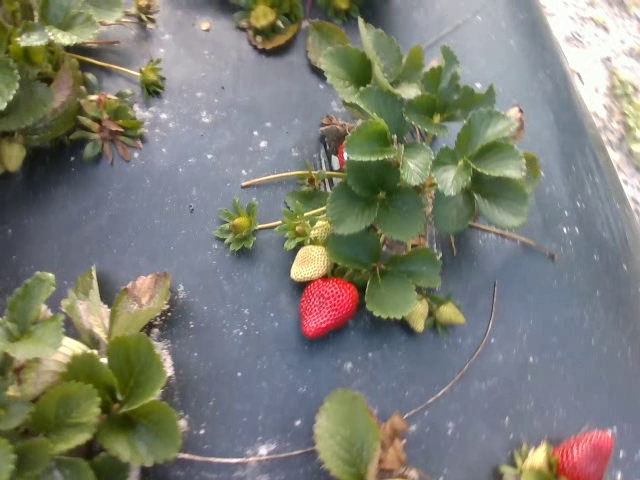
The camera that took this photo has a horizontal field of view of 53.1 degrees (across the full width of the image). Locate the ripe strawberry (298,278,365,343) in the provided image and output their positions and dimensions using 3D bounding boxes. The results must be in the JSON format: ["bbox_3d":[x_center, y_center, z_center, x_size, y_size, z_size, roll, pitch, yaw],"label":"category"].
[{"bbox_3d":[-0.001,0.057,0.507,0.051,0.048,0.055,3,32,35],"label":"ripe strawberry"}]
